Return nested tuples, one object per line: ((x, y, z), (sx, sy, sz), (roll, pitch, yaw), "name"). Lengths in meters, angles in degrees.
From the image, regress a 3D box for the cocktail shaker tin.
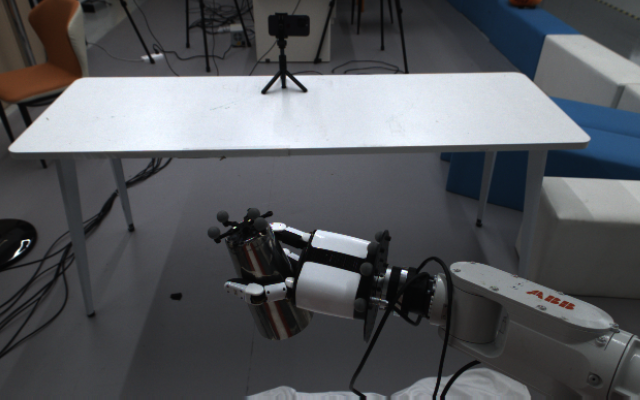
((-0.078, 0.115, 0.713), (0.093, 0.170, 0.093), (-15, 27, 8), "cocktail shaker tin")
